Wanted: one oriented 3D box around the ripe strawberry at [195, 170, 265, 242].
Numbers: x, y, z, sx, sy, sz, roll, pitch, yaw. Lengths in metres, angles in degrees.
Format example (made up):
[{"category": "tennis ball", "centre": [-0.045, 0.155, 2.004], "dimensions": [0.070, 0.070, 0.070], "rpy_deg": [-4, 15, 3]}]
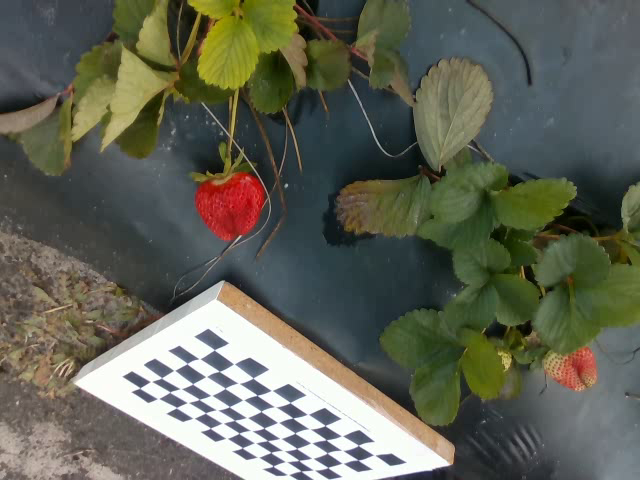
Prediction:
[{"category": "ripe strawberry", "centre": [-0.018, -0.006, 0.117], "dimensions": [0.017, 0.015, 0.013], "rpy_deg": [-8, -2, 27]}]
